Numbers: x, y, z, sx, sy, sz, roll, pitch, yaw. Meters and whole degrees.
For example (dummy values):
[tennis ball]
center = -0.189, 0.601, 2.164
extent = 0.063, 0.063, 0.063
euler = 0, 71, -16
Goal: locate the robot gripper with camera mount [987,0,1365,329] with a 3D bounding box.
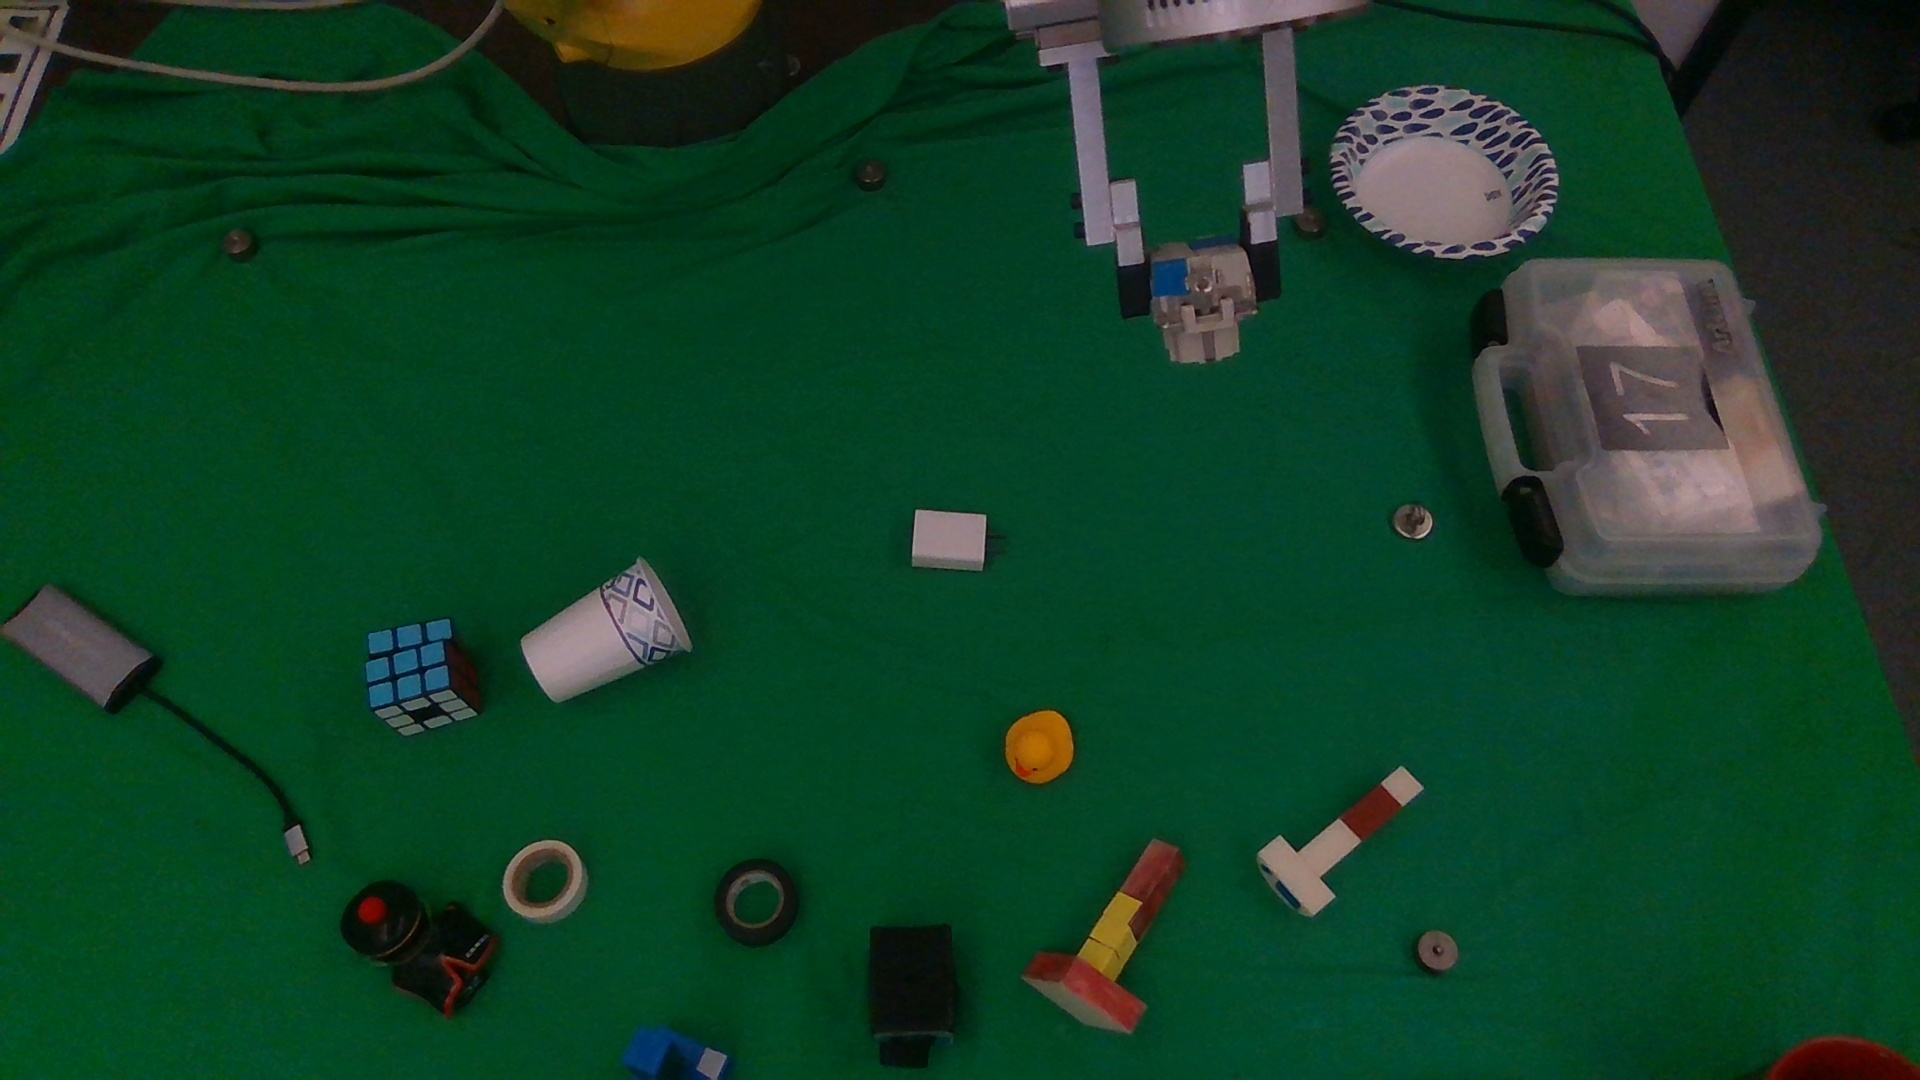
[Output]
[robot gripper with camera mount]
center = 0.069, -0.124, 0.379
extent = 0.119, 0.158, 0.193
euler = -7, 20, 5

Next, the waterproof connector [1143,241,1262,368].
[waterproof connector]
center = 0.083, -0.082, 0.482
extent = 0.035, 0.065, 0.037
euler = -12, 106, 6
